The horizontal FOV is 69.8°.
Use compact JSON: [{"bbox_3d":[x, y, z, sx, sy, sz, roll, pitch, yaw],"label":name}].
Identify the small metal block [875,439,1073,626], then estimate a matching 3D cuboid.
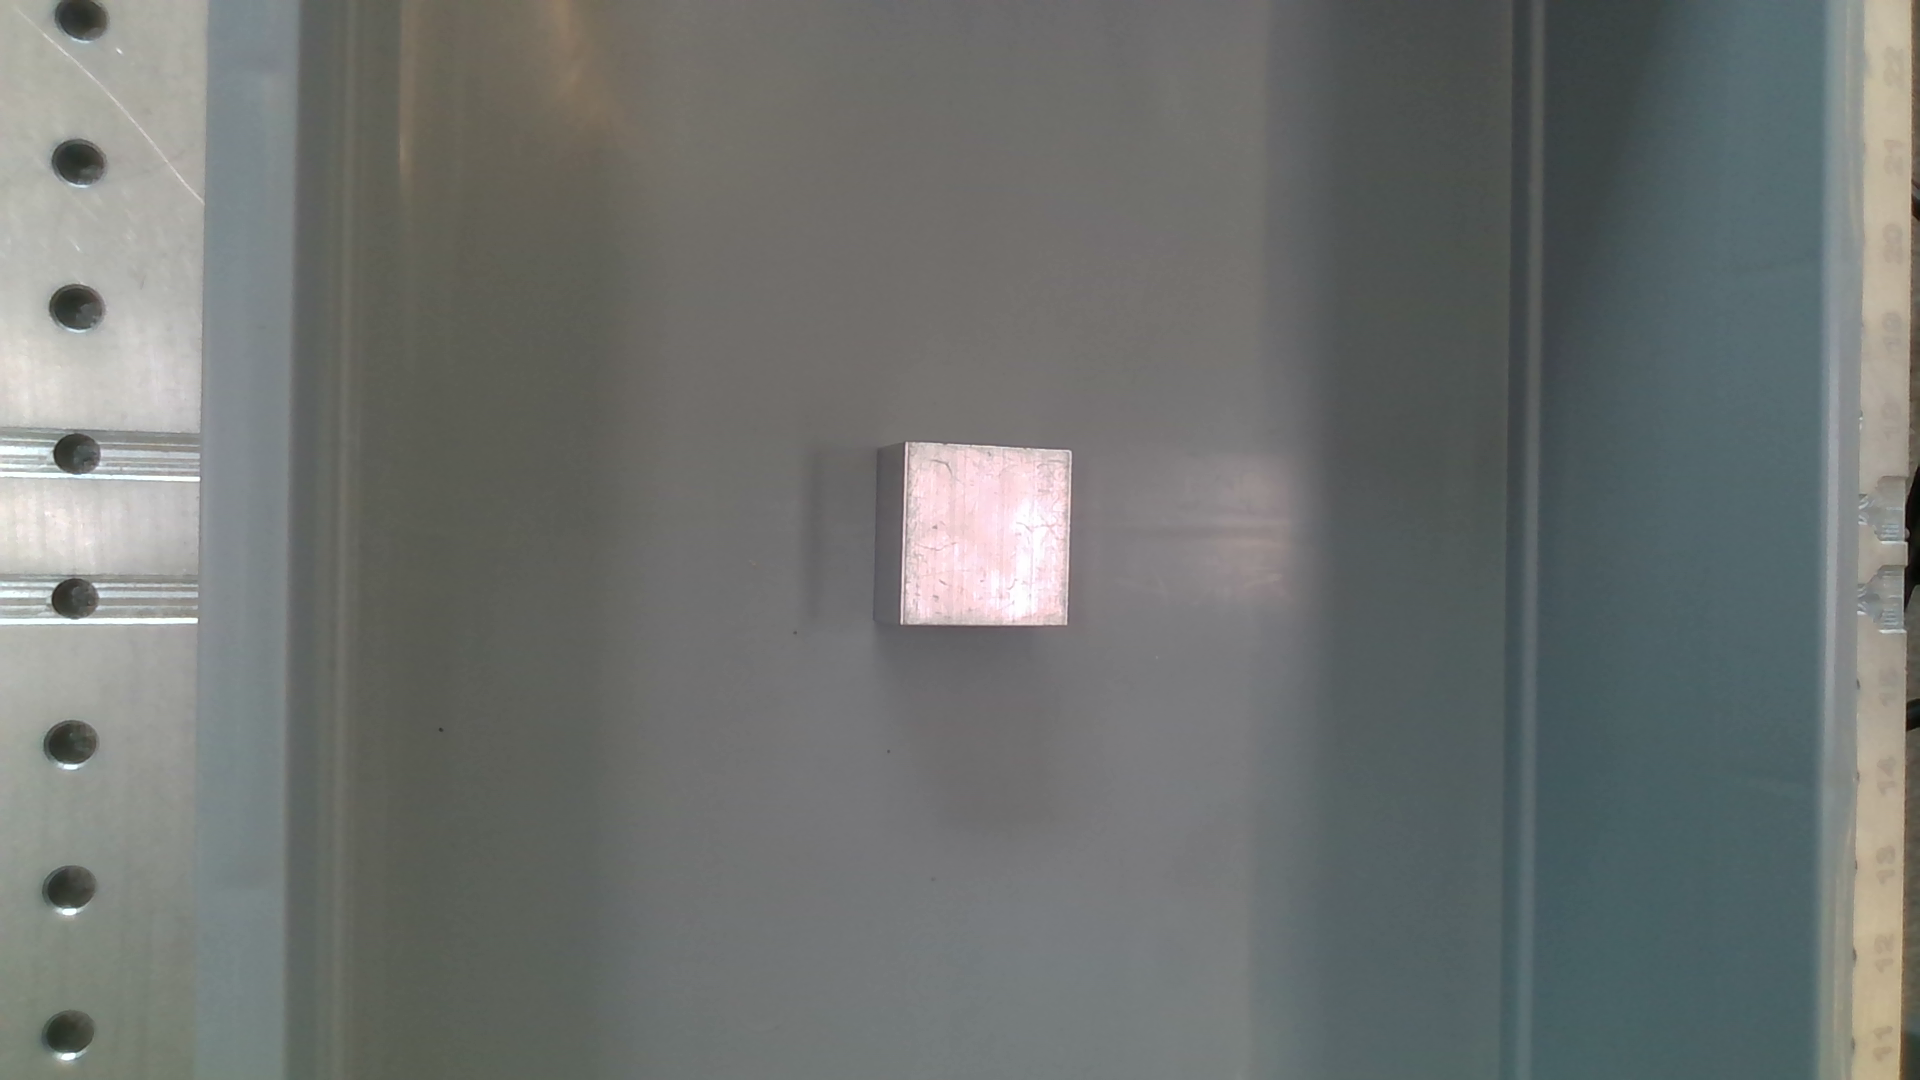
[{"bbox_3d":[0.004,-0.001,0.392,0.050,0.025,0.050,2,89,-20],"label":"small metal block"}]
